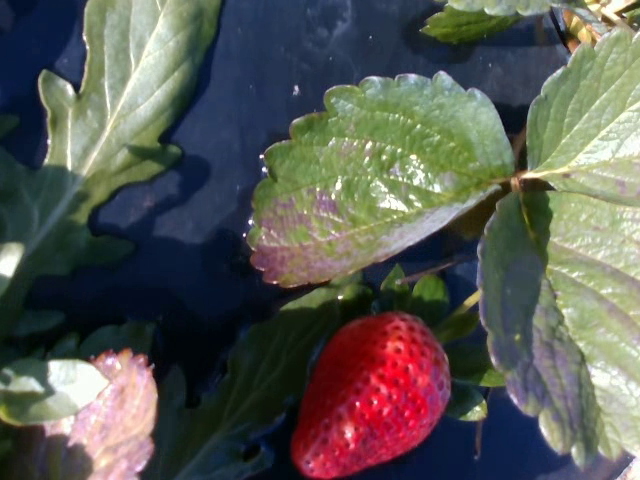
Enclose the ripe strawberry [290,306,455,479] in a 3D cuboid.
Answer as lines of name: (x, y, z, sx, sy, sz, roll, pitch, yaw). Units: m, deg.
ripe strawberry: (0.009, 0.034, 0.131, 0.036, 0.044, 0.053, 41, 38, 25)
